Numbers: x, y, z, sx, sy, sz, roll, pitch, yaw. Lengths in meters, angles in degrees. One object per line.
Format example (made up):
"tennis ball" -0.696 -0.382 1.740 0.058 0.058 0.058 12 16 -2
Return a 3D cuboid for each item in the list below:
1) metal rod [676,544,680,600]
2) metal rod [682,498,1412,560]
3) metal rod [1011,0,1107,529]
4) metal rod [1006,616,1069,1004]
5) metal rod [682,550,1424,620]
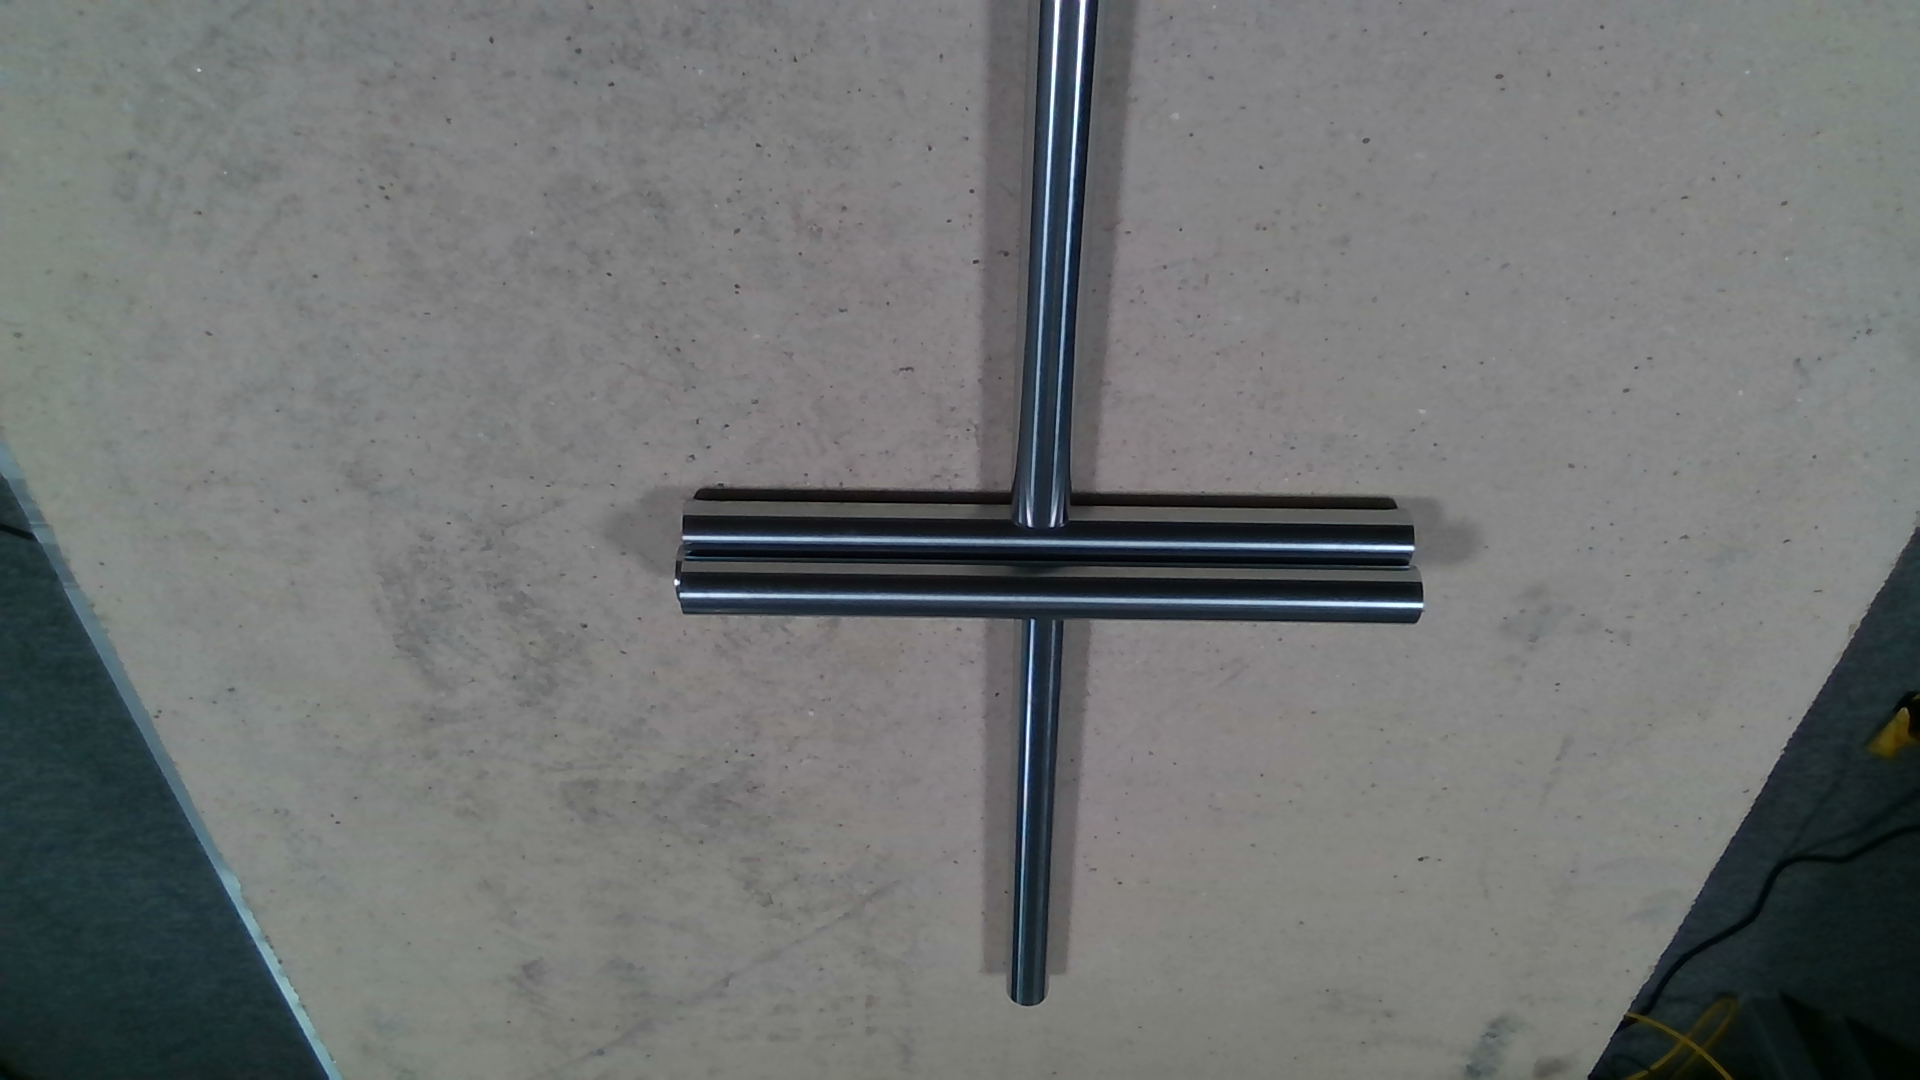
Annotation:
"metal rod" 0.030 0.016 0.593 0.300 0.025 0.025 1 130 -1
"metal rod" 0.036 -0.003 0.577 0.300 0.025 0.025 1 130 -1
"metal rod" 0.034 -0.128 0.472 0.025 0.025 0.301 0 130 0
"metal rod" 0.038 0.141 0.698 0.025 0.025 0.301 0 130 0
"metal rod" 0.038 0.019 0.569 0.300 0.025 0.025 1 130 -1
